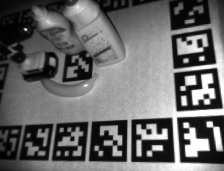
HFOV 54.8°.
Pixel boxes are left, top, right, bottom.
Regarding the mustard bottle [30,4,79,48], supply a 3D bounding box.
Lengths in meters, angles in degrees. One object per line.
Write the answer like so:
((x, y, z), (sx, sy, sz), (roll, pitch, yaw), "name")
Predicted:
((-0.171, -0.178, 0.623), (0.095, 0.193, 0.058), (-5, 71, 19), "mustard bottle")

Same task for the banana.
((-0.144, -0.020, 0.645), (0.195, 0.039, 0.074), (-3, 76, 22), "banana")

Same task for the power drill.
((-0.275, -0.116, 0.620), (0.183, 0.189, 0.057), (-8, 63, 16), "power drill")

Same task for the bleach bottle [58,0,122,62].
((-0.059, -0.142, 0.545), (0.102, 0.253, 0.067), (-14, 69, 17), "bleach bottle")
